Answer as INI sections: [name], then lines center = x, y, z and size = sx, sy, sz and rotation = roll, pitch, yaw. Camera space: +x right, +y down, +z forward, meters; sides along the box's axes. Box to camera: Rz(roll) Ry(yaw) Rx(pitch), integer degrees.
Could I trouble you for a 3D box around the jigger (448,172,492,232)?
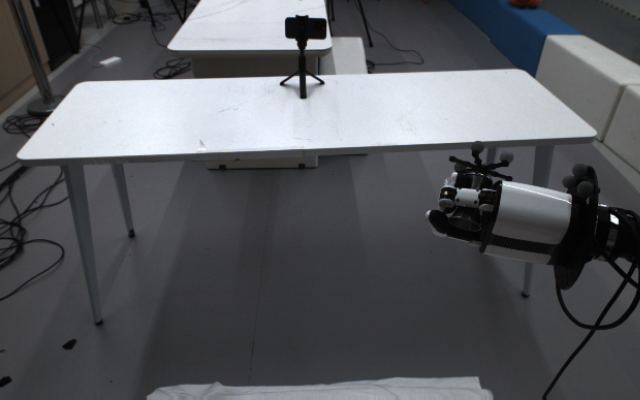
[jigger]
center = 0.202, -0.001, 0.645
size = 0.043, 0.043, 0.071
rotation = 16, 70, 19
